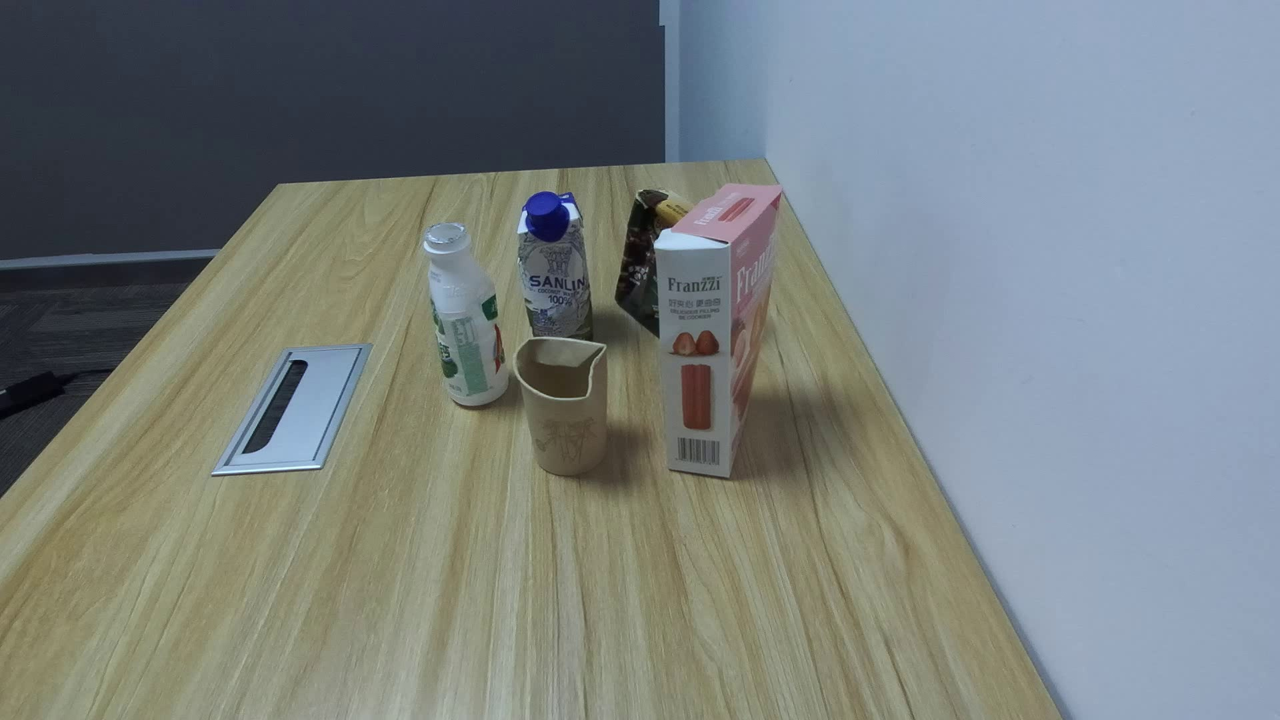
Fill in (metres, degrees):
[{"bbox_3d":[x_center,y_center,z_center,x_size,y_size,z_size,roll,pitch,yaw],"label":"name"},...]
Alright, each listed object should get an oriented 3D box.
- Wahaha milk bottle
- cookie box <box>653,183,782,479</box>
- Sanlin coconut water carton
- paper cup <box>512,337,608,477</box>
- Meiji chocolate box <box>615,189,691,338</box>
[{"bbox_3d":[-0.135,-0.034,0.552,0.055,0.149,0.055,0,37,0],"label":"Wahaha milk bottle"},{"bbox_3d":[0.053,-0.020,0.491,0.055,0.184,0.118,12,39,18],"label":"cookie box"},{"bbox_3d":[-0.075,-0.083,0.615,0.061,0.144,0.069,-4,37,0],"label":"Sanlin coconut water carton"},{"bbox_3d":[-0.056,0.036,0.508,0.066,0.084,0.071,6,36,11],"label":"paper cup"},{"bbox_3d":[0.030,-0.082,0.634,0.058,0.111,0.112,-15,36,-33],"label":"Meiji chocolate box"}]
